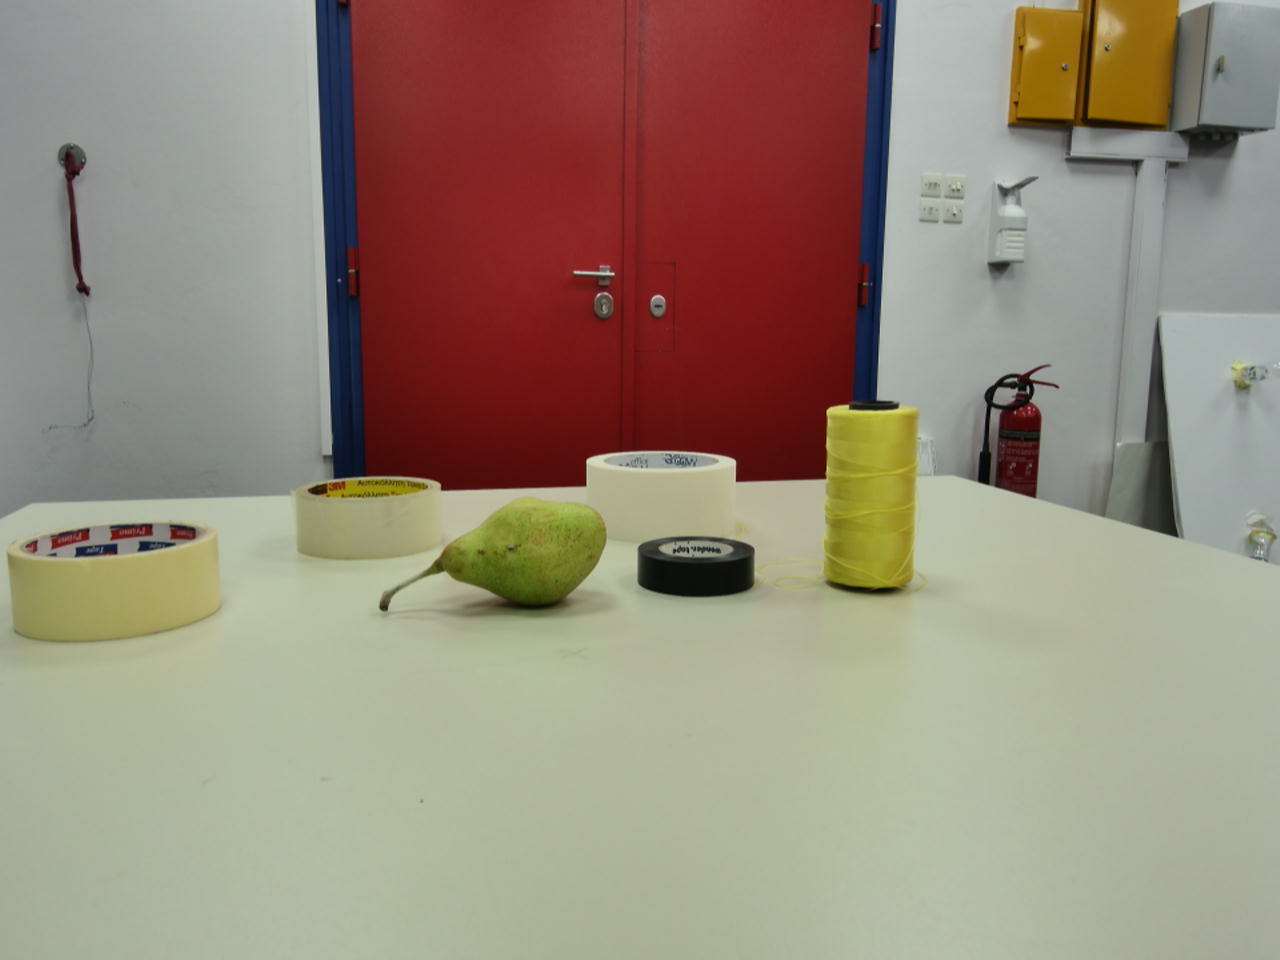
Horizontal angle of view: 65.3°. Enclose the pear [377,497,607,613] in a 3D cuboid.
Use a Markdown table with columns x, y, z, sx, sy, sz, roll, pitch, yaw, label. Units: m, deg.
| x | y | z | sx | sy | sz | roll | pitch | yaw | label |
| --- | --- | --- | --- | --- | --- | --- | --- | --- | --- |
| -0.073 | 0.037 | 0.517 | 0.111 | 0.056 | 0.056 | 0 | 6 | 2 | pear |
